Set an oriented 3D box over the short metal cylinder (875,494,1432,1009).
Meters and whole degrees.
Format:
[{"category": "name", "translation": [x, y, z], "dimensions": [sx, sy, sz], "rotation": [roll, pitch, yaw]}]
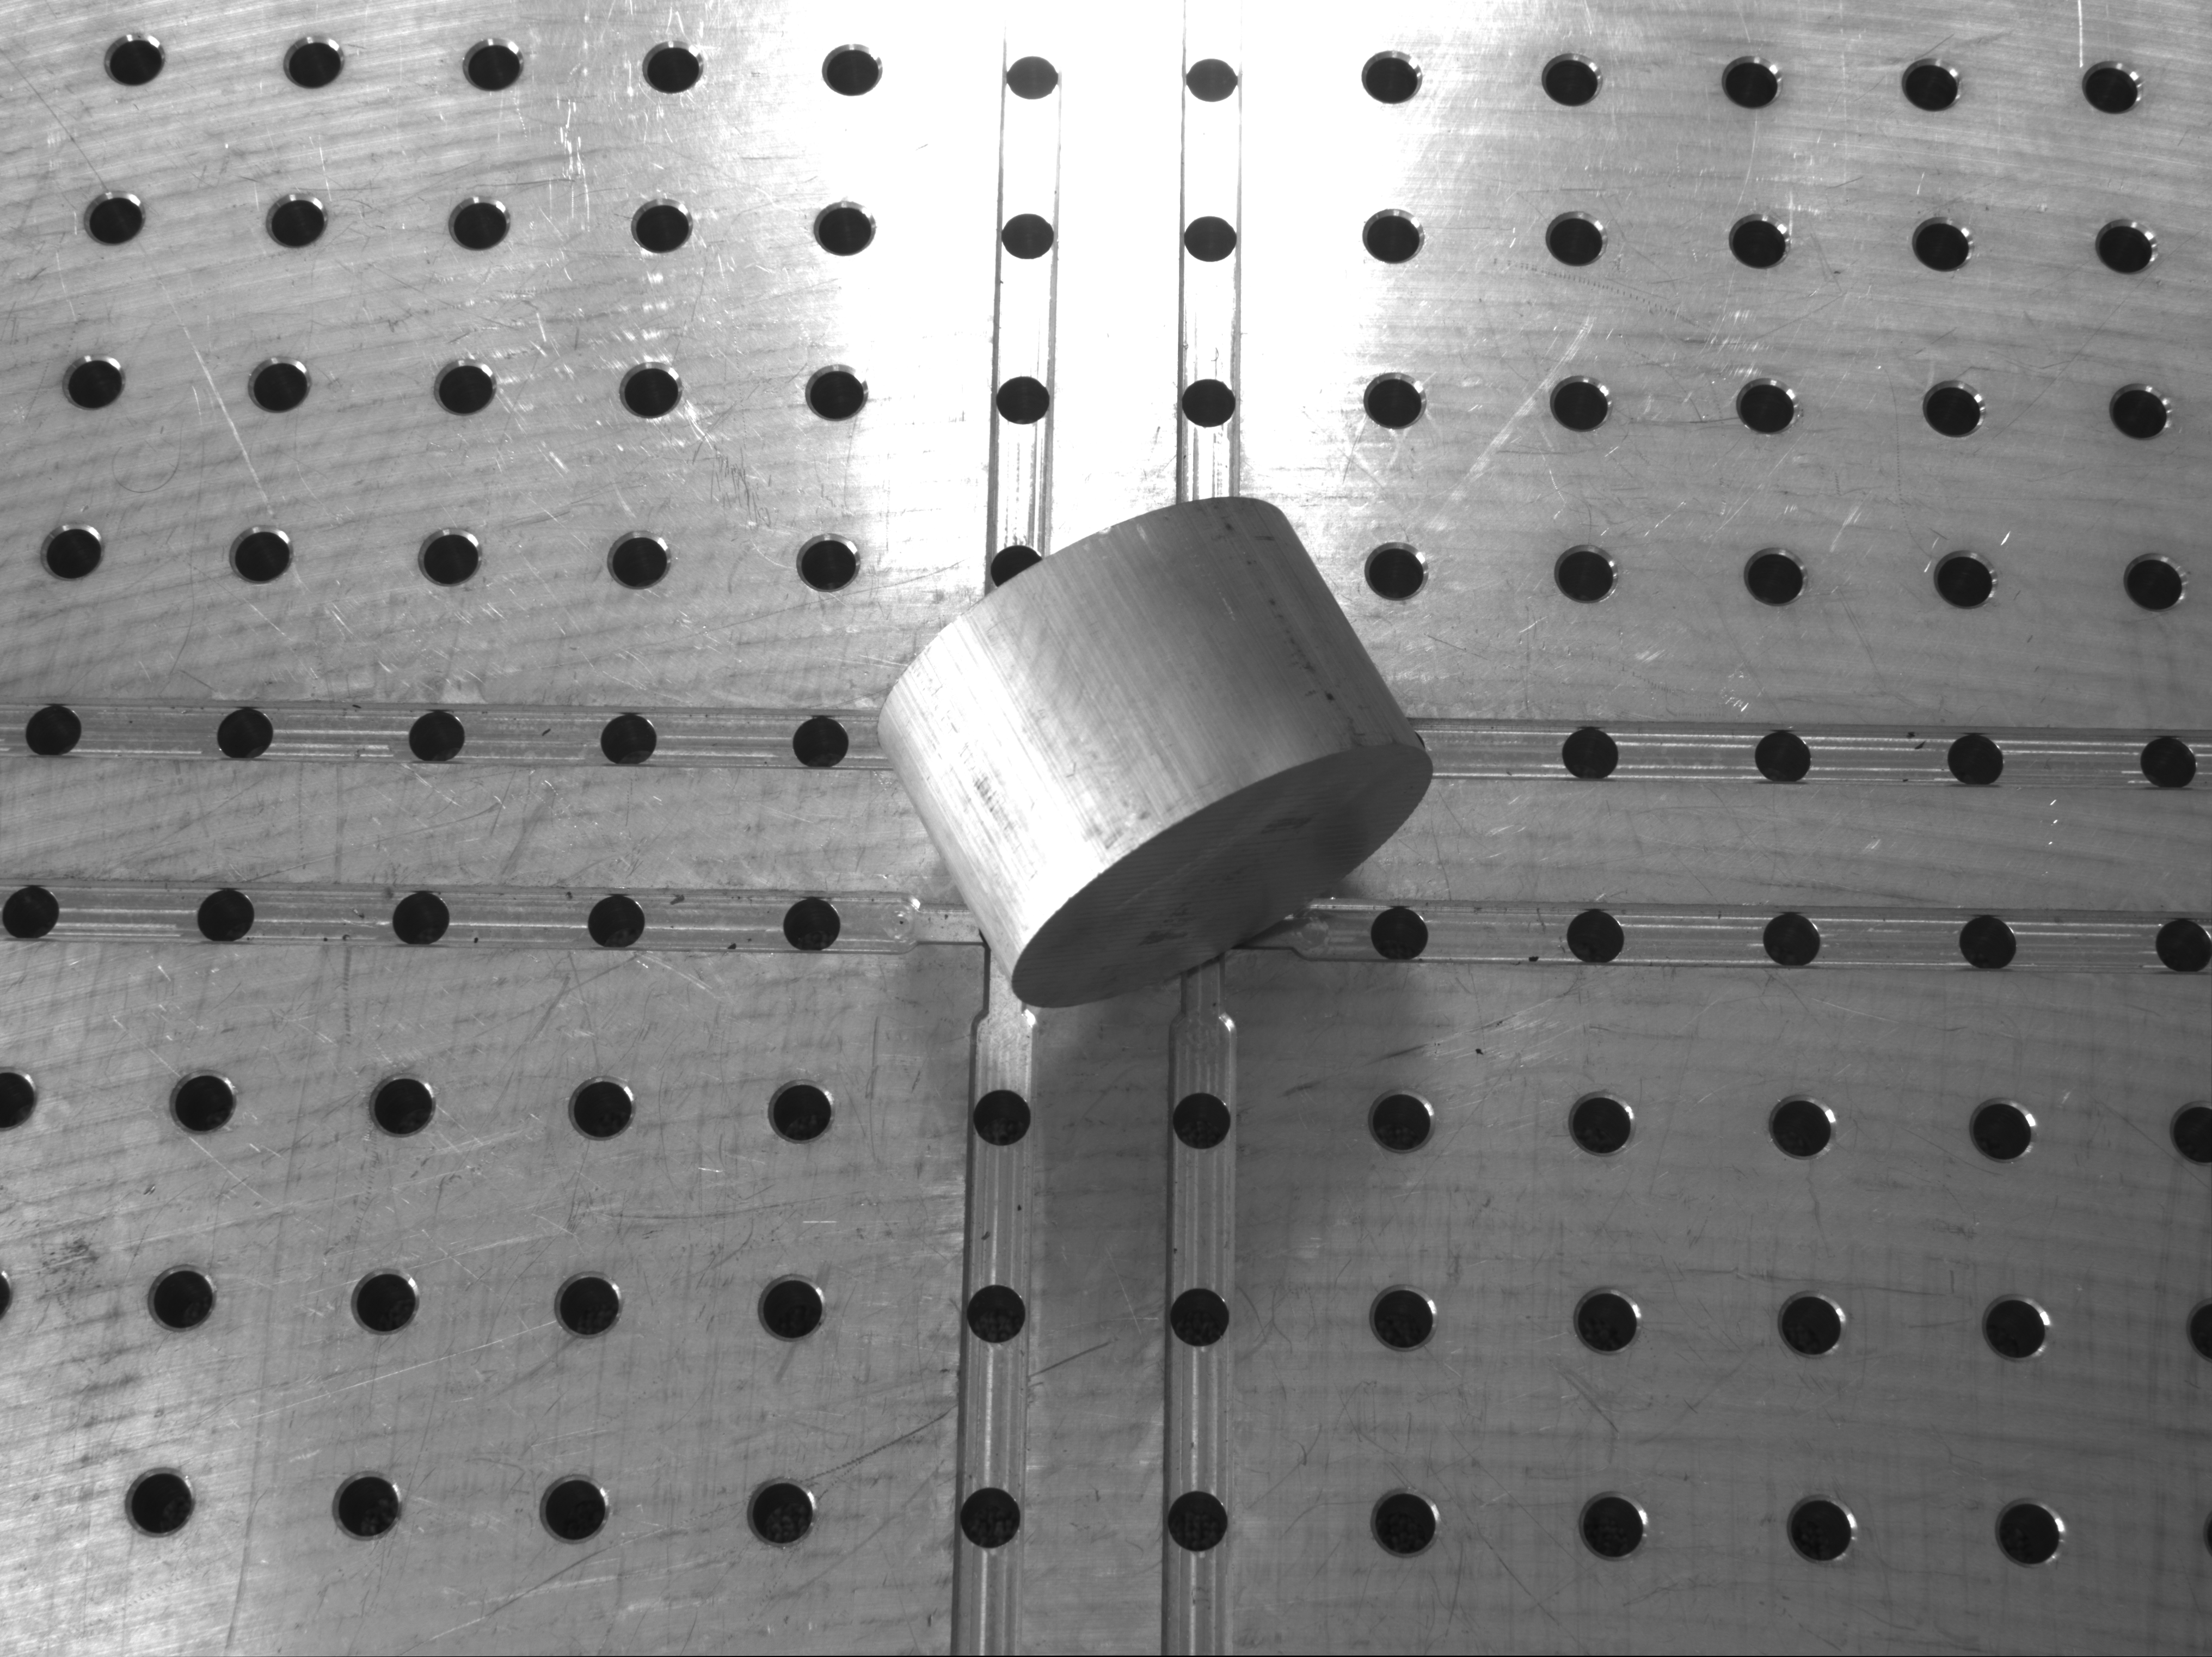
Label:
[{"category": "short metal cylinder", "translation": [0.008, -0.012, 0.622], "dimensions": [0.080, 0.080, 0.050], "rotation": [-27, 71, -9]}]
